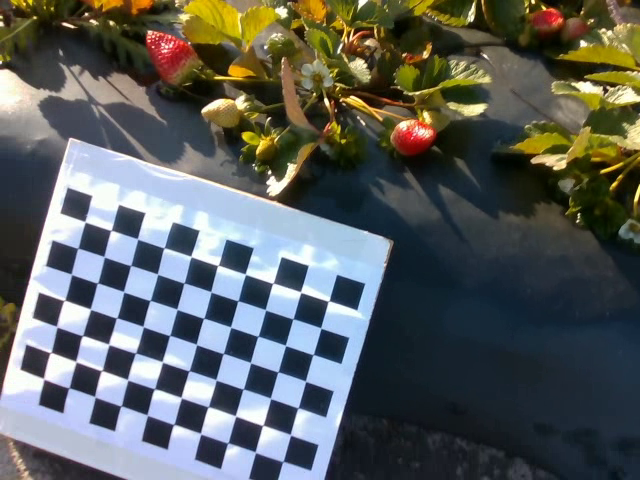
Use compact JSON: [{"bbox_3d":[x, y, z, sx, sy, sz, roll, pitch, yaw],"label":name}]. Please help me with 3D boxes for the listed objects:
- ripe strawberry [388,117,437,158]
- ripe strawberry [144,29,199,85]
[{"bbox_3d":[0.075,-0.078,0.604,0.042,0.037,0.045,2,-6,-25],"label":"ripe strawberry"},{"bbox_3d":[-0.119,-0.149,0.634,0.053,0.044,0.036,45,0,-1],"label":"ripe strawberry"}]
